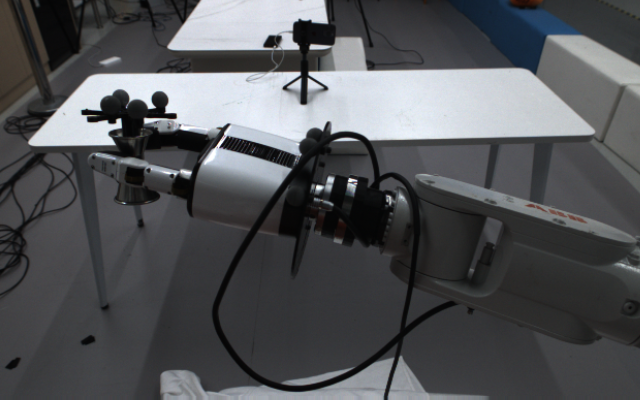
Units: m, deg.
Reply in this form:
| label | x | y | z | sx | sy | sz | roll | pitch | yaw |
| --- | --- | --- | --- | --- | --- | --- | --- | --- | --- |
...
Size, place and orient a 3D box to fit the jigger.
| label | x | y | z | sx | sy | sz | roll | pitch | yaw |
| --- | --- | --- | --- | --- | --- | --- | --- | --- | --- |
| jigger | -0.184 | -0.034 | 0.486 | 0.043 | 0.071 | 0.043 | 2 | 20 | -1 |
